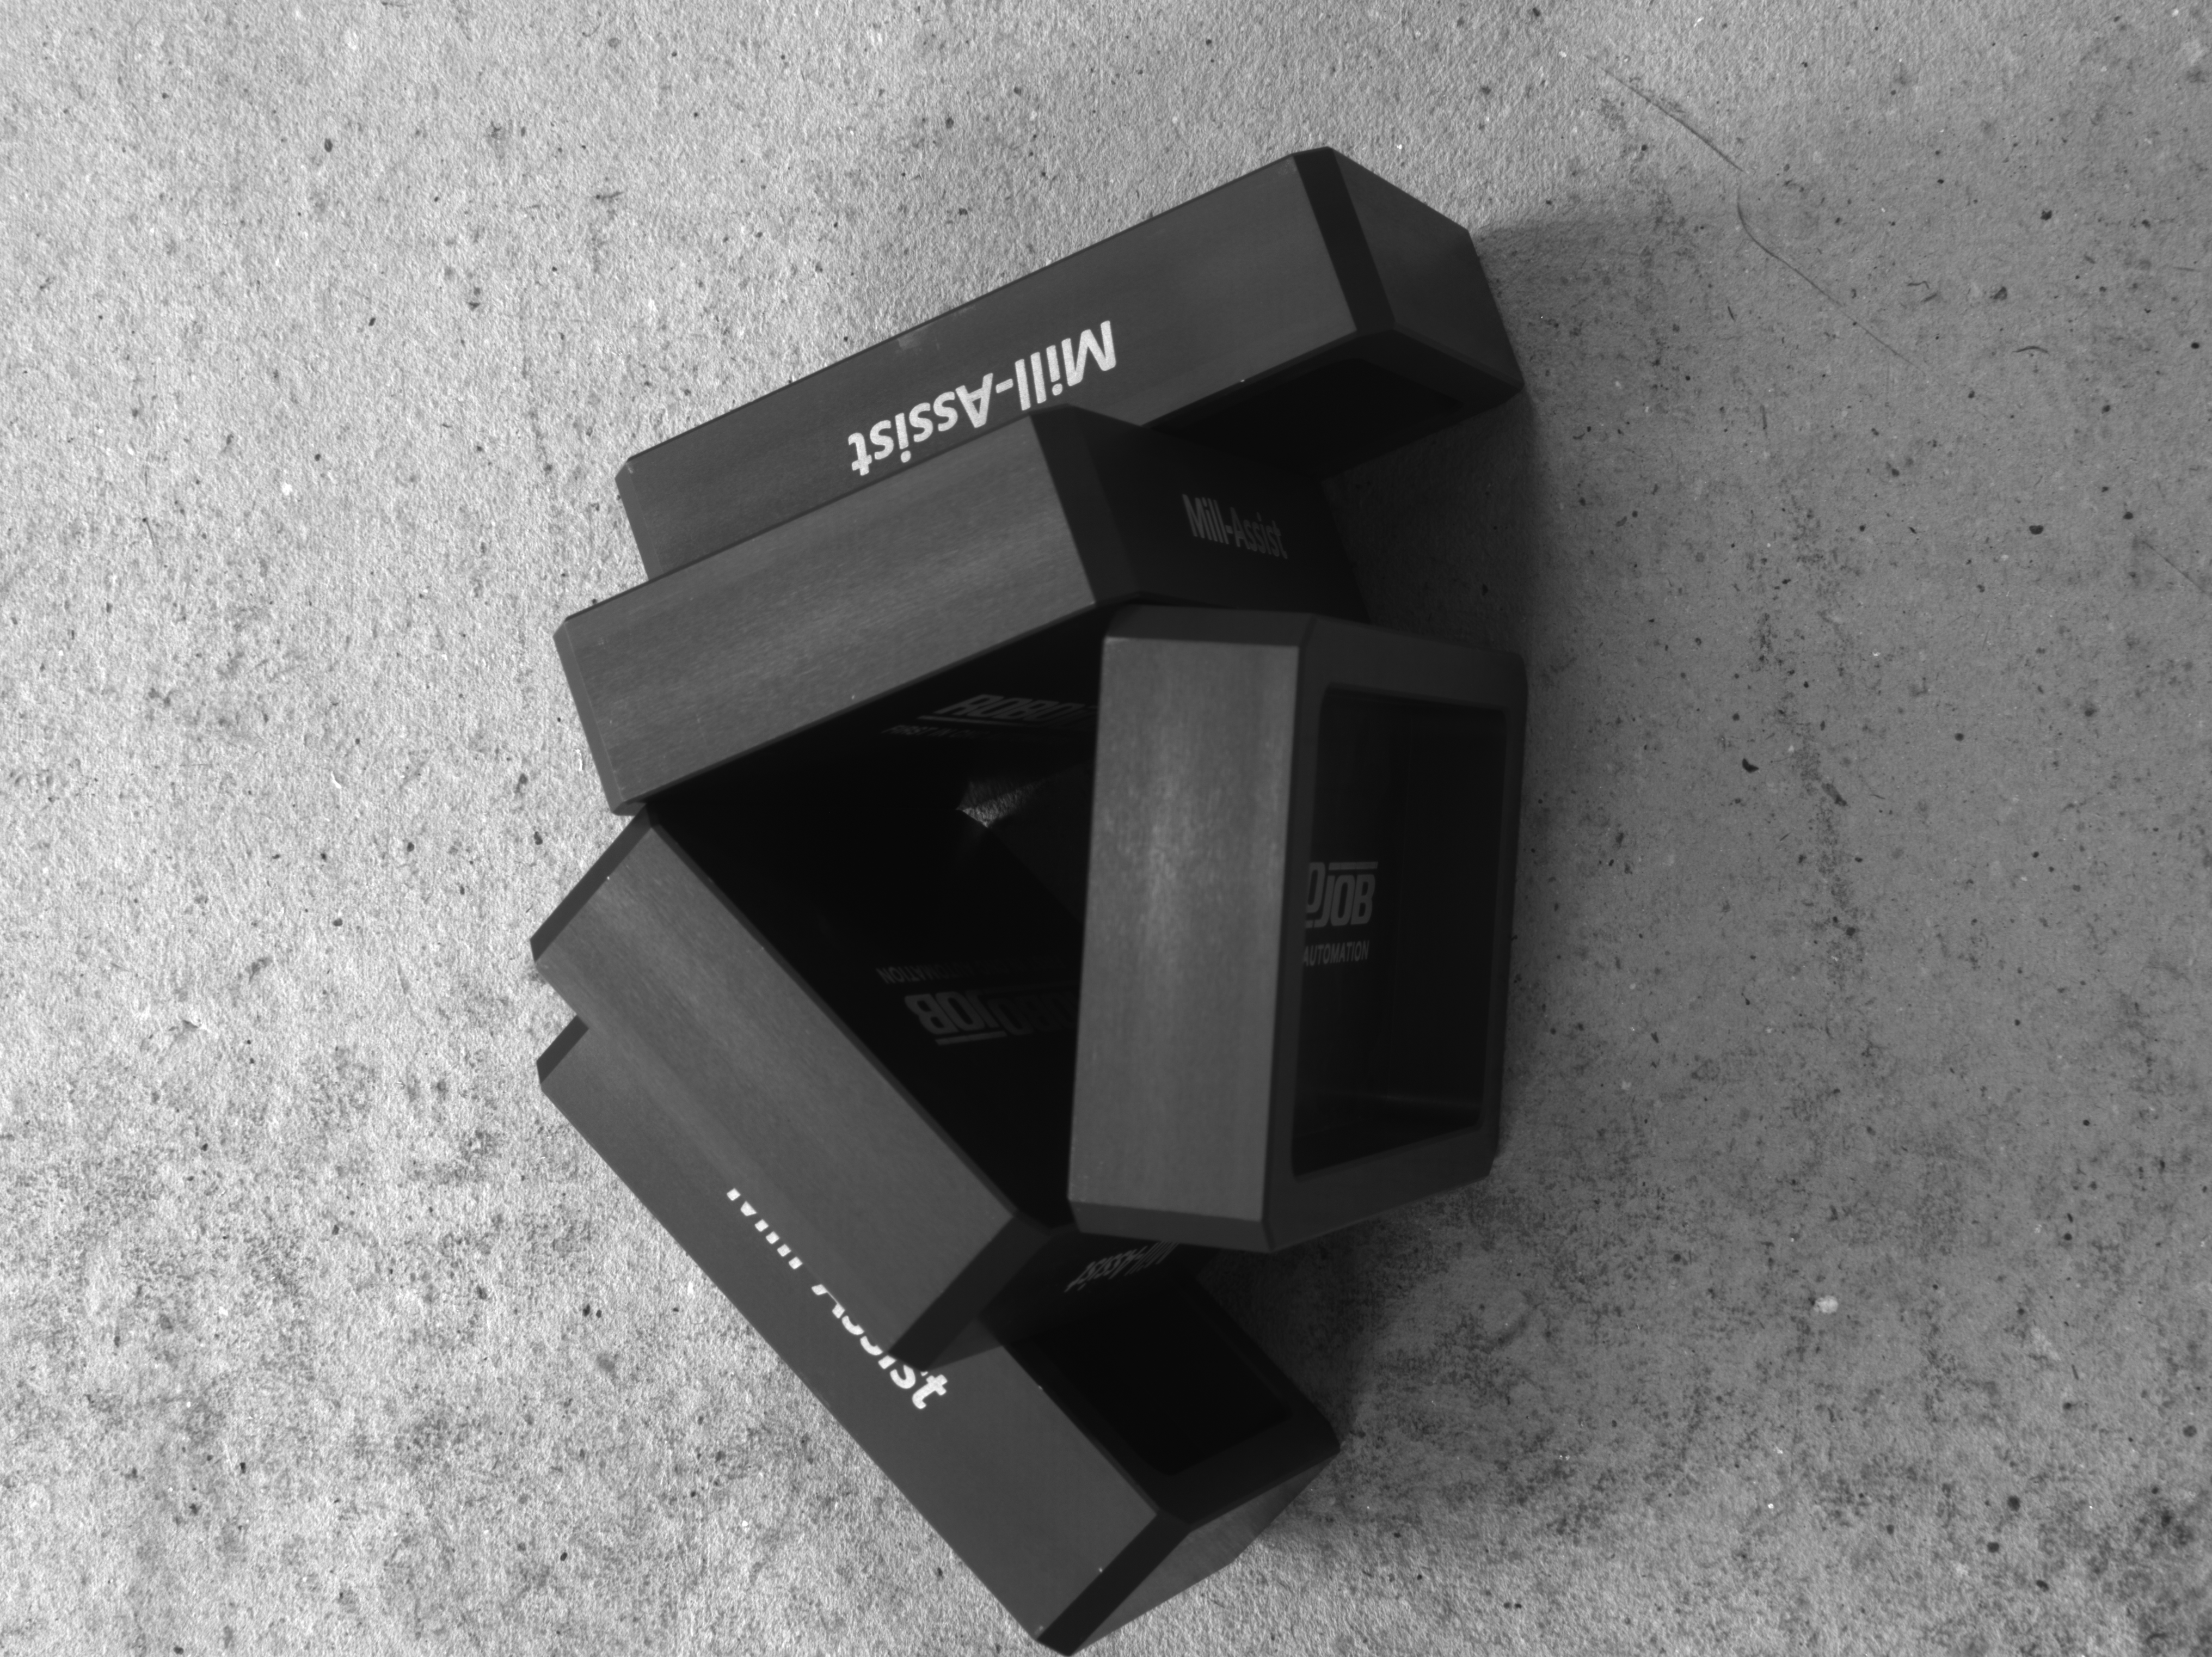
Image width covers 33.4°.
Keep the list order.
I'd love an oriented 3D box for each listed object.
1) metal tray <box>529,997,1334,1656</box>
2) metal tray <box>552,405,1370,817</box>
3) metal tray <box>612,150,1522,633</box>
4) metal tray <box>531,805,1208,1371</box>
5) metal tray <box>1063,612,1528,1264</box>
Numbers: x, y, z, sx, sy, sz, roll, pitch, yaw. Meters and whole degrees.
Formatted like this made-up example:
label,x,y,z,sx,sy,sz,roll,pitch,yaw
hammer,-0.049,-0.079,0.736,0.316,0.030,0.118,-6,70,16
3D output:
label,x,y,z,sx,sy,sz,roll,pitch,yaw
metal tray,-0.027,0.074,0.621,0.130,0.090,0.030,46,104,14
metal tray,-0.019,-0.031,0.597,0.090,0.130,0.030,-22,83,19
metal tray,-0.005,-0.066,0.613,0.130,0.090,0.030,-21,83,19
metal tray,-0.027,0.038,0.600,0.090,0.130,0.030,45,104,15
metal tray,0.033,0.015,0.578,0.030,0.130,0.090,5,92,20
